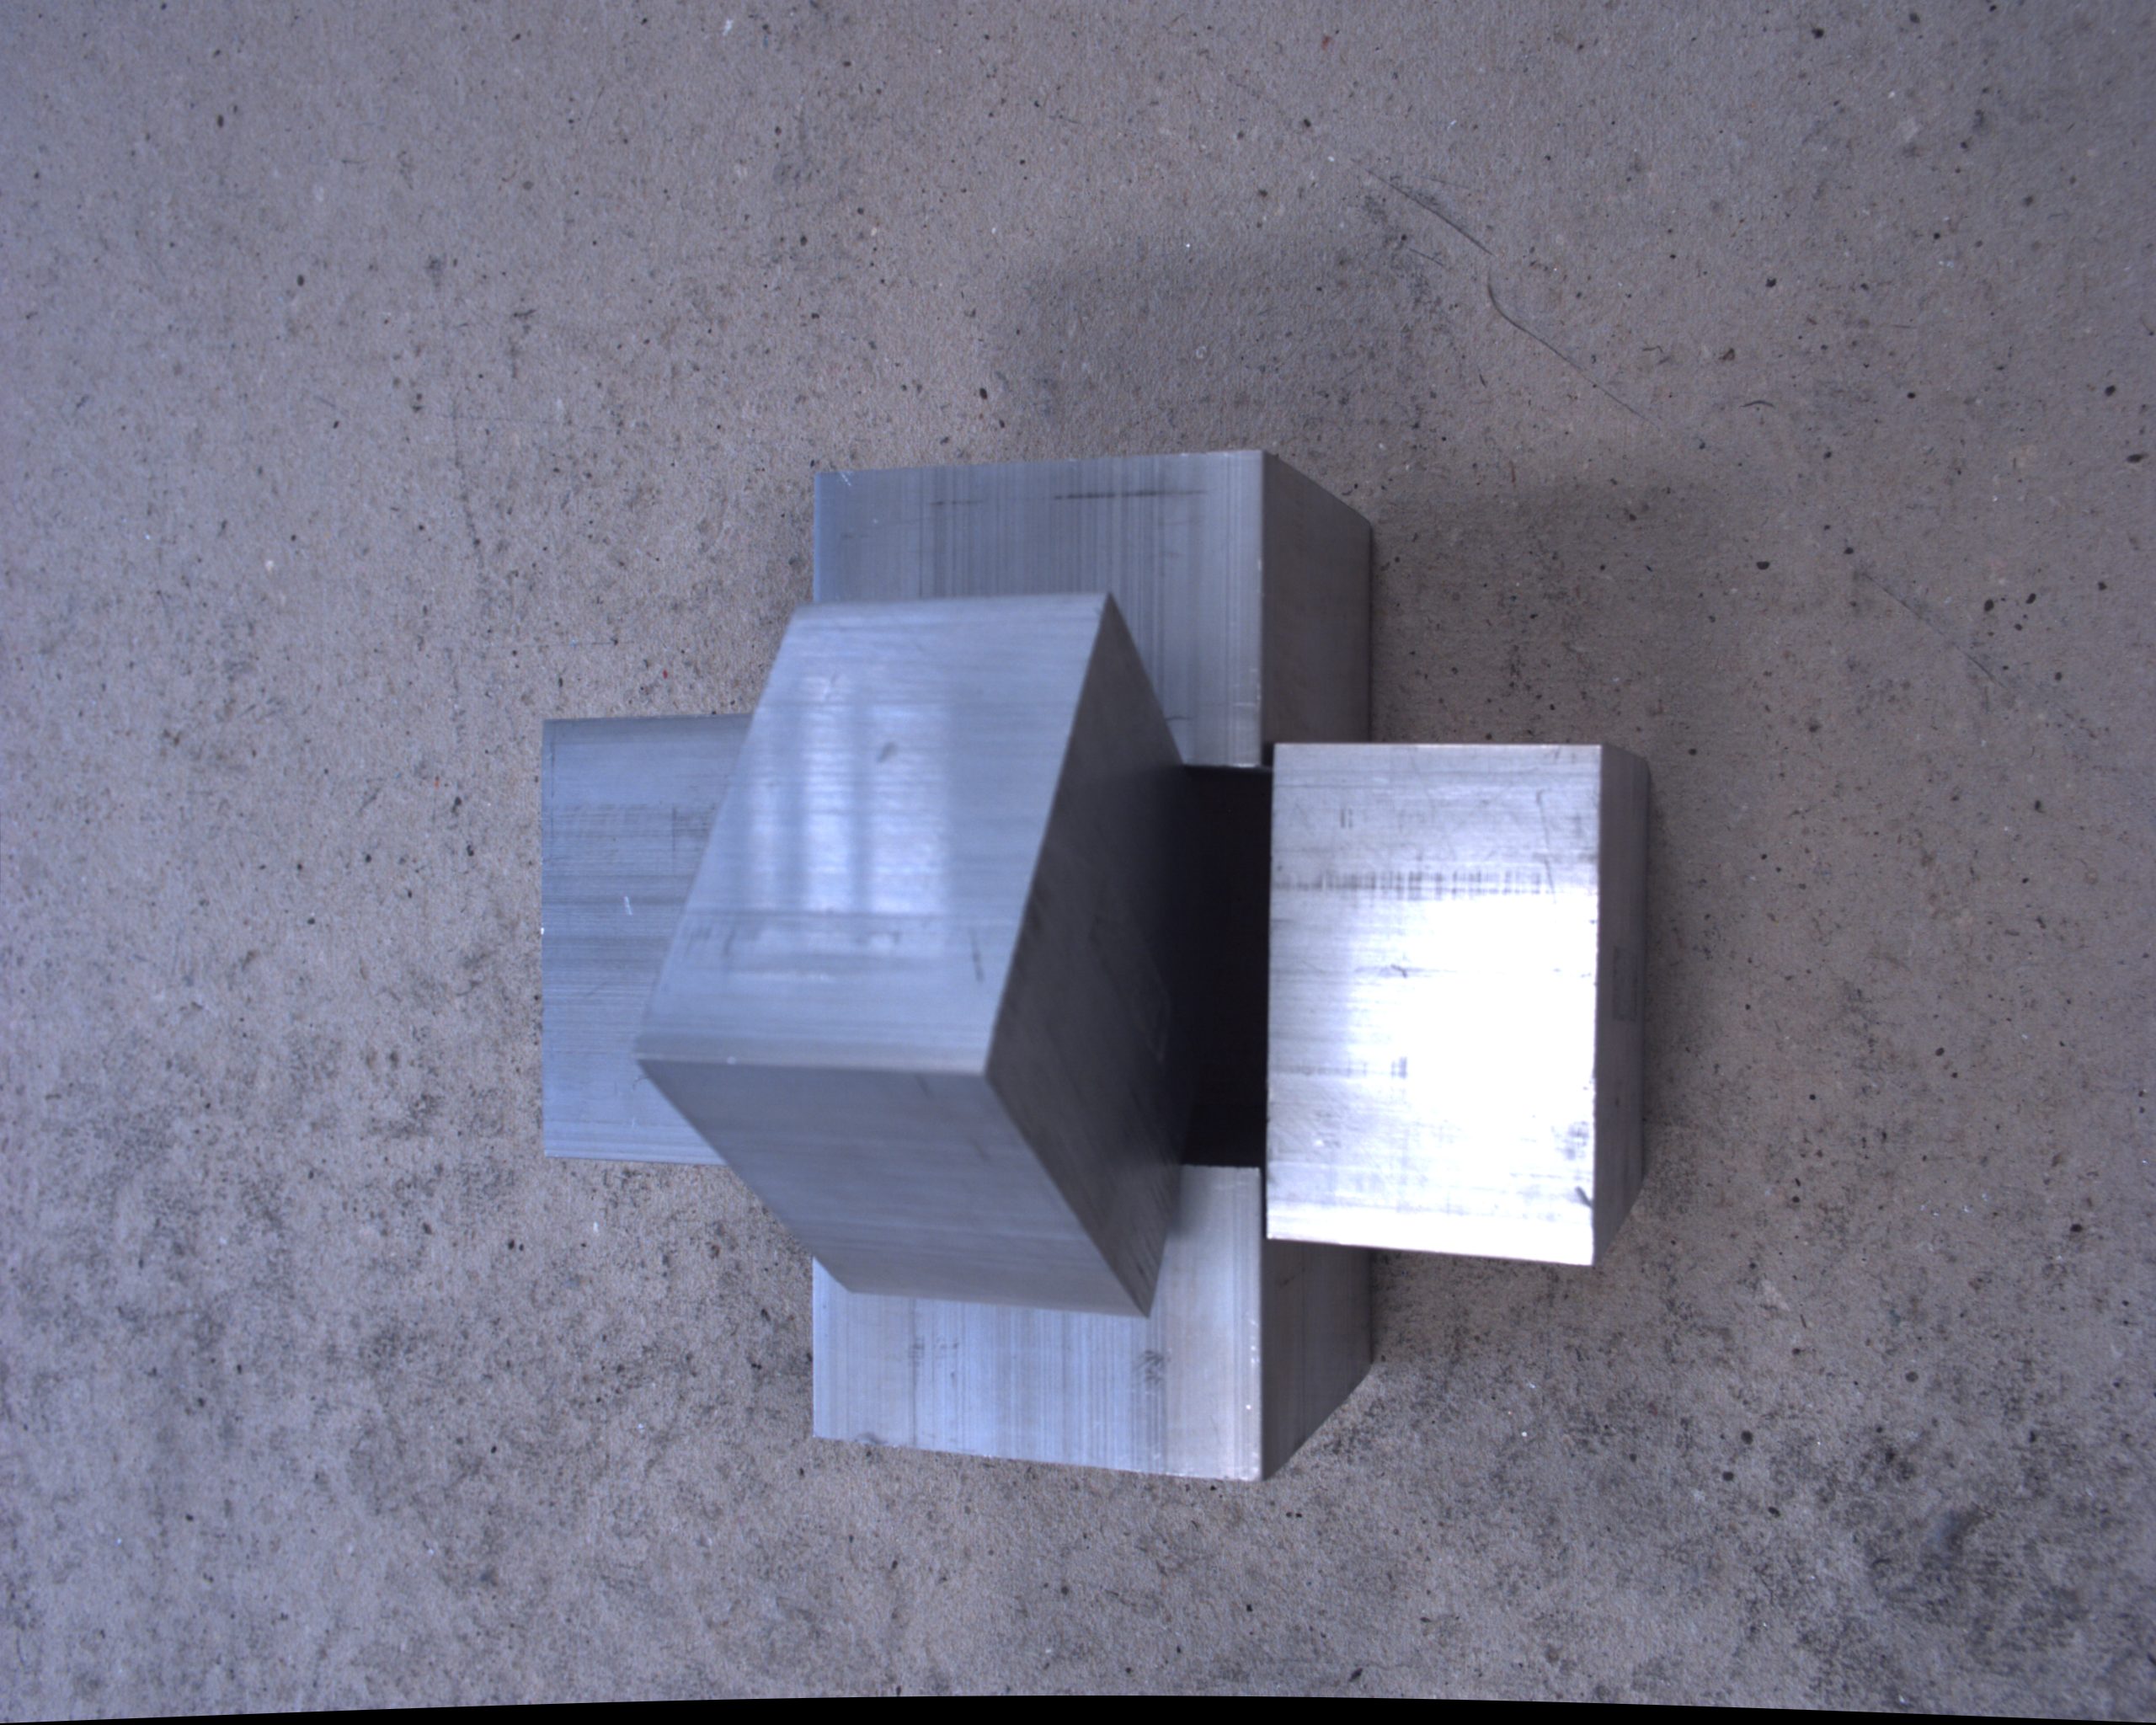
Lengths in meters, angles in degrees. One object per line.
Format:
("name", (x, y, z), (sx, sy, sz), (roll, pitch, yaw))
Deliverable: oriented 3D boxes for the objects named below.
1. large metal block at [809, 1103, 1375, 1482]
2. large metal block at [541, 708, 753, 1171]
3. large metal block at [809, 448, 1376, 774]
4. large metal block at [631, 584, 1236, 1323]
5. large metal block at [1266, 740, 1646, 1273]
("large metal block", (0.006, 0.073, 0.379), (0.080, 0.080, 0.050), (0, 90, 20))
("large metal block", (-0.058, 0.013, 0.400), (0.050, 0.080, 0.080), (0, 90, 20))
("large metal block", (0.006, -0.041, 0.379), (0.080, 0.080, 0.050), (1, 91, 20))
("large metal block", (-0.016, 0.015, 0.317), (0.050, 0.080, 0.080), (1, 56, 20))
("large metal block", (0.068, 0.021, 0.357), (0.050, 0.080, 0.080), (1, 90, 20))
